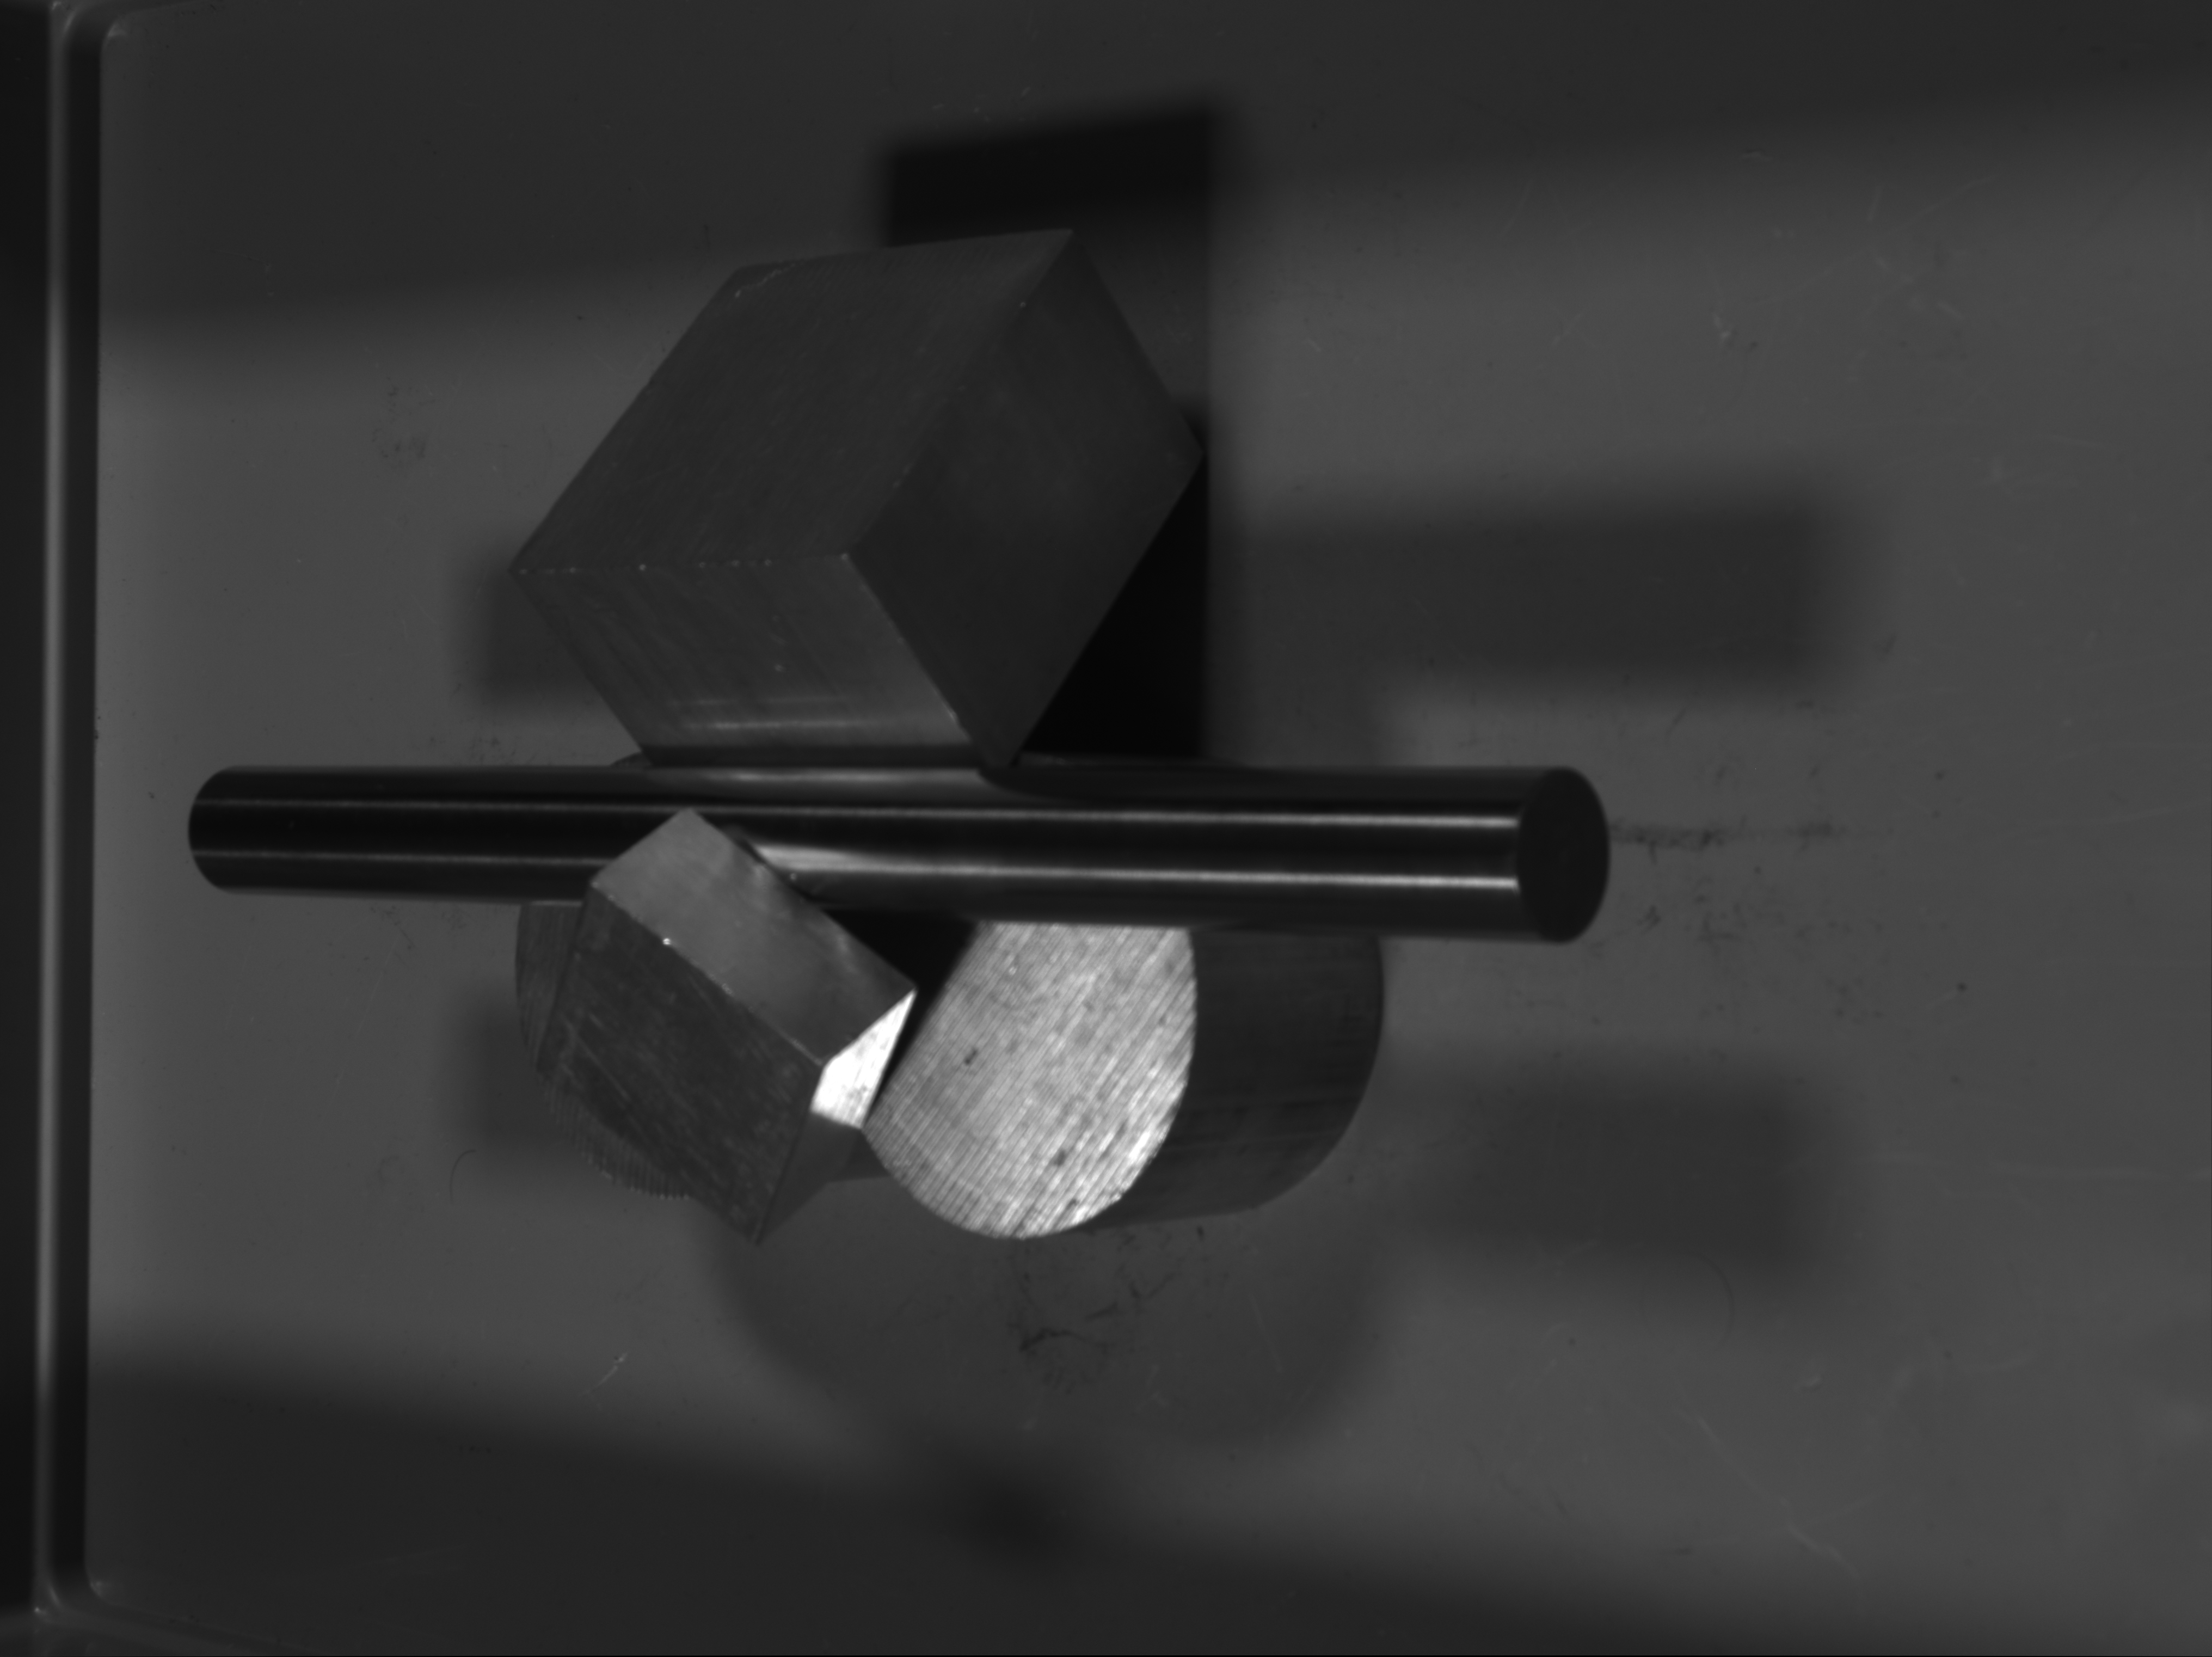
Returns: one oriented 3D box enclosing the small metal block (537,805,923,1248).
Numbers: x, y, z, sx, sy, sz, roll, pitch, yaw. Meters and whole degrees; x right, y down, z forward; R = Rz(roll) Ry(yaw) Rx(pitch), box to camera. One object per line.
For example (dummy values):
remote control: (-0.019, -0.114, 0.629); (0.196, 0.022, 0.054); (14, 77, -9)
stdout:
small metal block: (-0.063, 0.033, 0.608); (0.050, 0.025, 0.050); (37, 136, 13)

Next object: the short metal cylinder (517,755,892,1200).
short metal cylinder: (-0.062, 0.026, 0.670); (0.080, 0.050, 0.080); (0, 90, 39)

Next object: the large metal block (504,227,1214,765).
large metal block: (-0.041, -0.054, 0.626); (0.080, 0.050, 0.080); (1, 47, 39)

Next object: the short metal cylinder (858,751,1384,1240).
short metal cylinder: (0.000, 0.027, 0.619); (0.080, 0.050, 0.080); (0, 90, 39)

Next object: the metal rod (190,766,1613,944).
metal rod: (-0.051, 0.002, 0.612); (0.299, 0.025, 0.025); (1, 90, 39)
